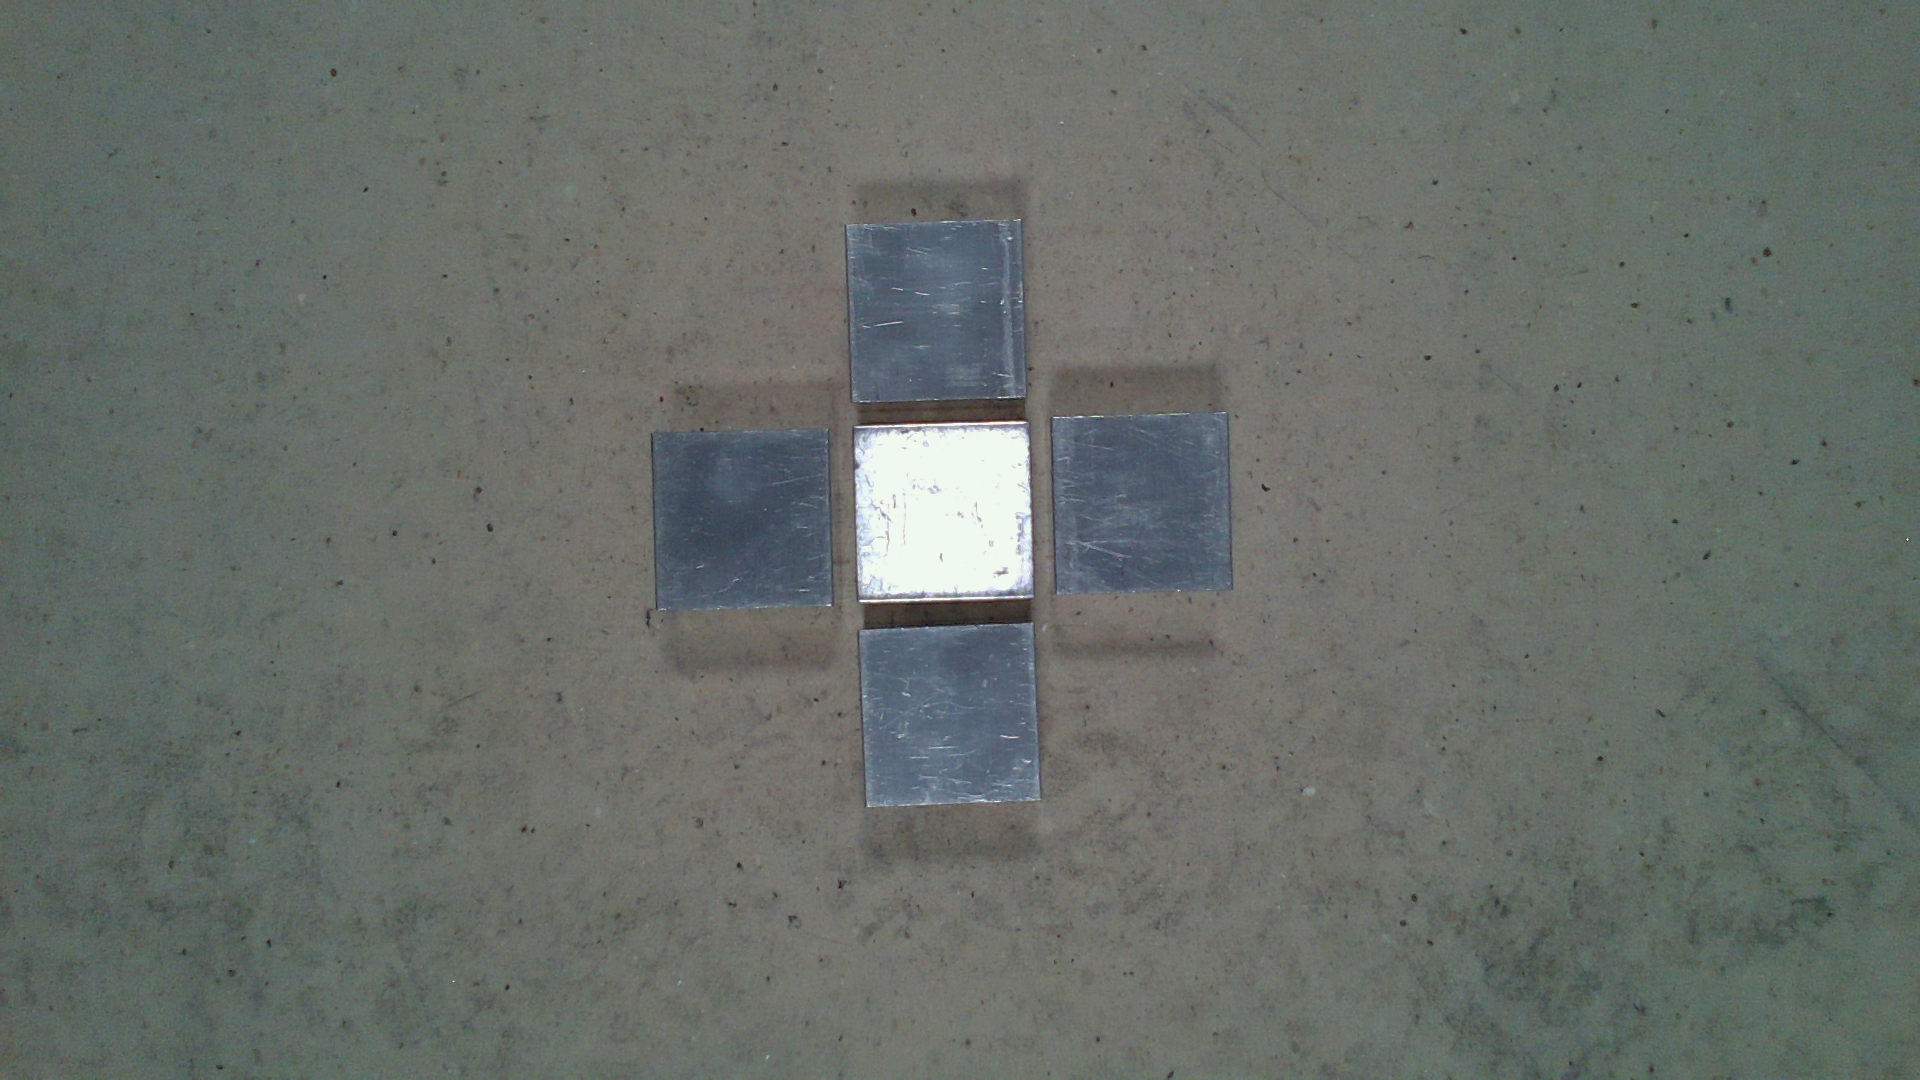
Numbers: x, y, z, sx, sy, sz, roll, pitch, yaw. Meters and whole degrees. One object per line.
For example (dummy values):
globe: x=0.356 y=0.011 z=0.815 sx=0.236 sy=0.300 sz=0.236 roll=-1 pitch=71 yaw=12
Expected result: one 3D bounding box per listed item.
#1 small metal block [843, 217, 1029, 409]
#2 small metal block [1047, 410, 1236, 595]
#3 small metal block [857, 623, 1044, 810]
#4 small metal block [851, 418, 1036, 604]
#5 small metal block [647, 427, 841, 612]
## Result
small metal block: x=-0.007 y=-0.064 z=0.395 sx=0.050 sy=0.025 sz=0.050 roll=-2 pitch=90 yaw=0
small metal block: x=0.051 y=-0.010 z=0.396 sx=0.050 sy=0.025 sz=0.050 roll=-2 pitch=90 yaw=0
small metal block: x=-0.003 y=0.049 z=0.396 sx=0.050 sy=0.025 sz=0.050 roll=-2 pitch=90 yaw=0
small metal block: x=-0.004 y=-0.008 z=0.396 sx=0.050 sy=0.025 sz=0.050 roll=-2 pitch=90 yaw=0
small metal block: x=-0.061 y=-0.006 z=0.395 sx=0.050 sy=0.025 sz=0.050 roll=-2 pitch=90 yaw=0
